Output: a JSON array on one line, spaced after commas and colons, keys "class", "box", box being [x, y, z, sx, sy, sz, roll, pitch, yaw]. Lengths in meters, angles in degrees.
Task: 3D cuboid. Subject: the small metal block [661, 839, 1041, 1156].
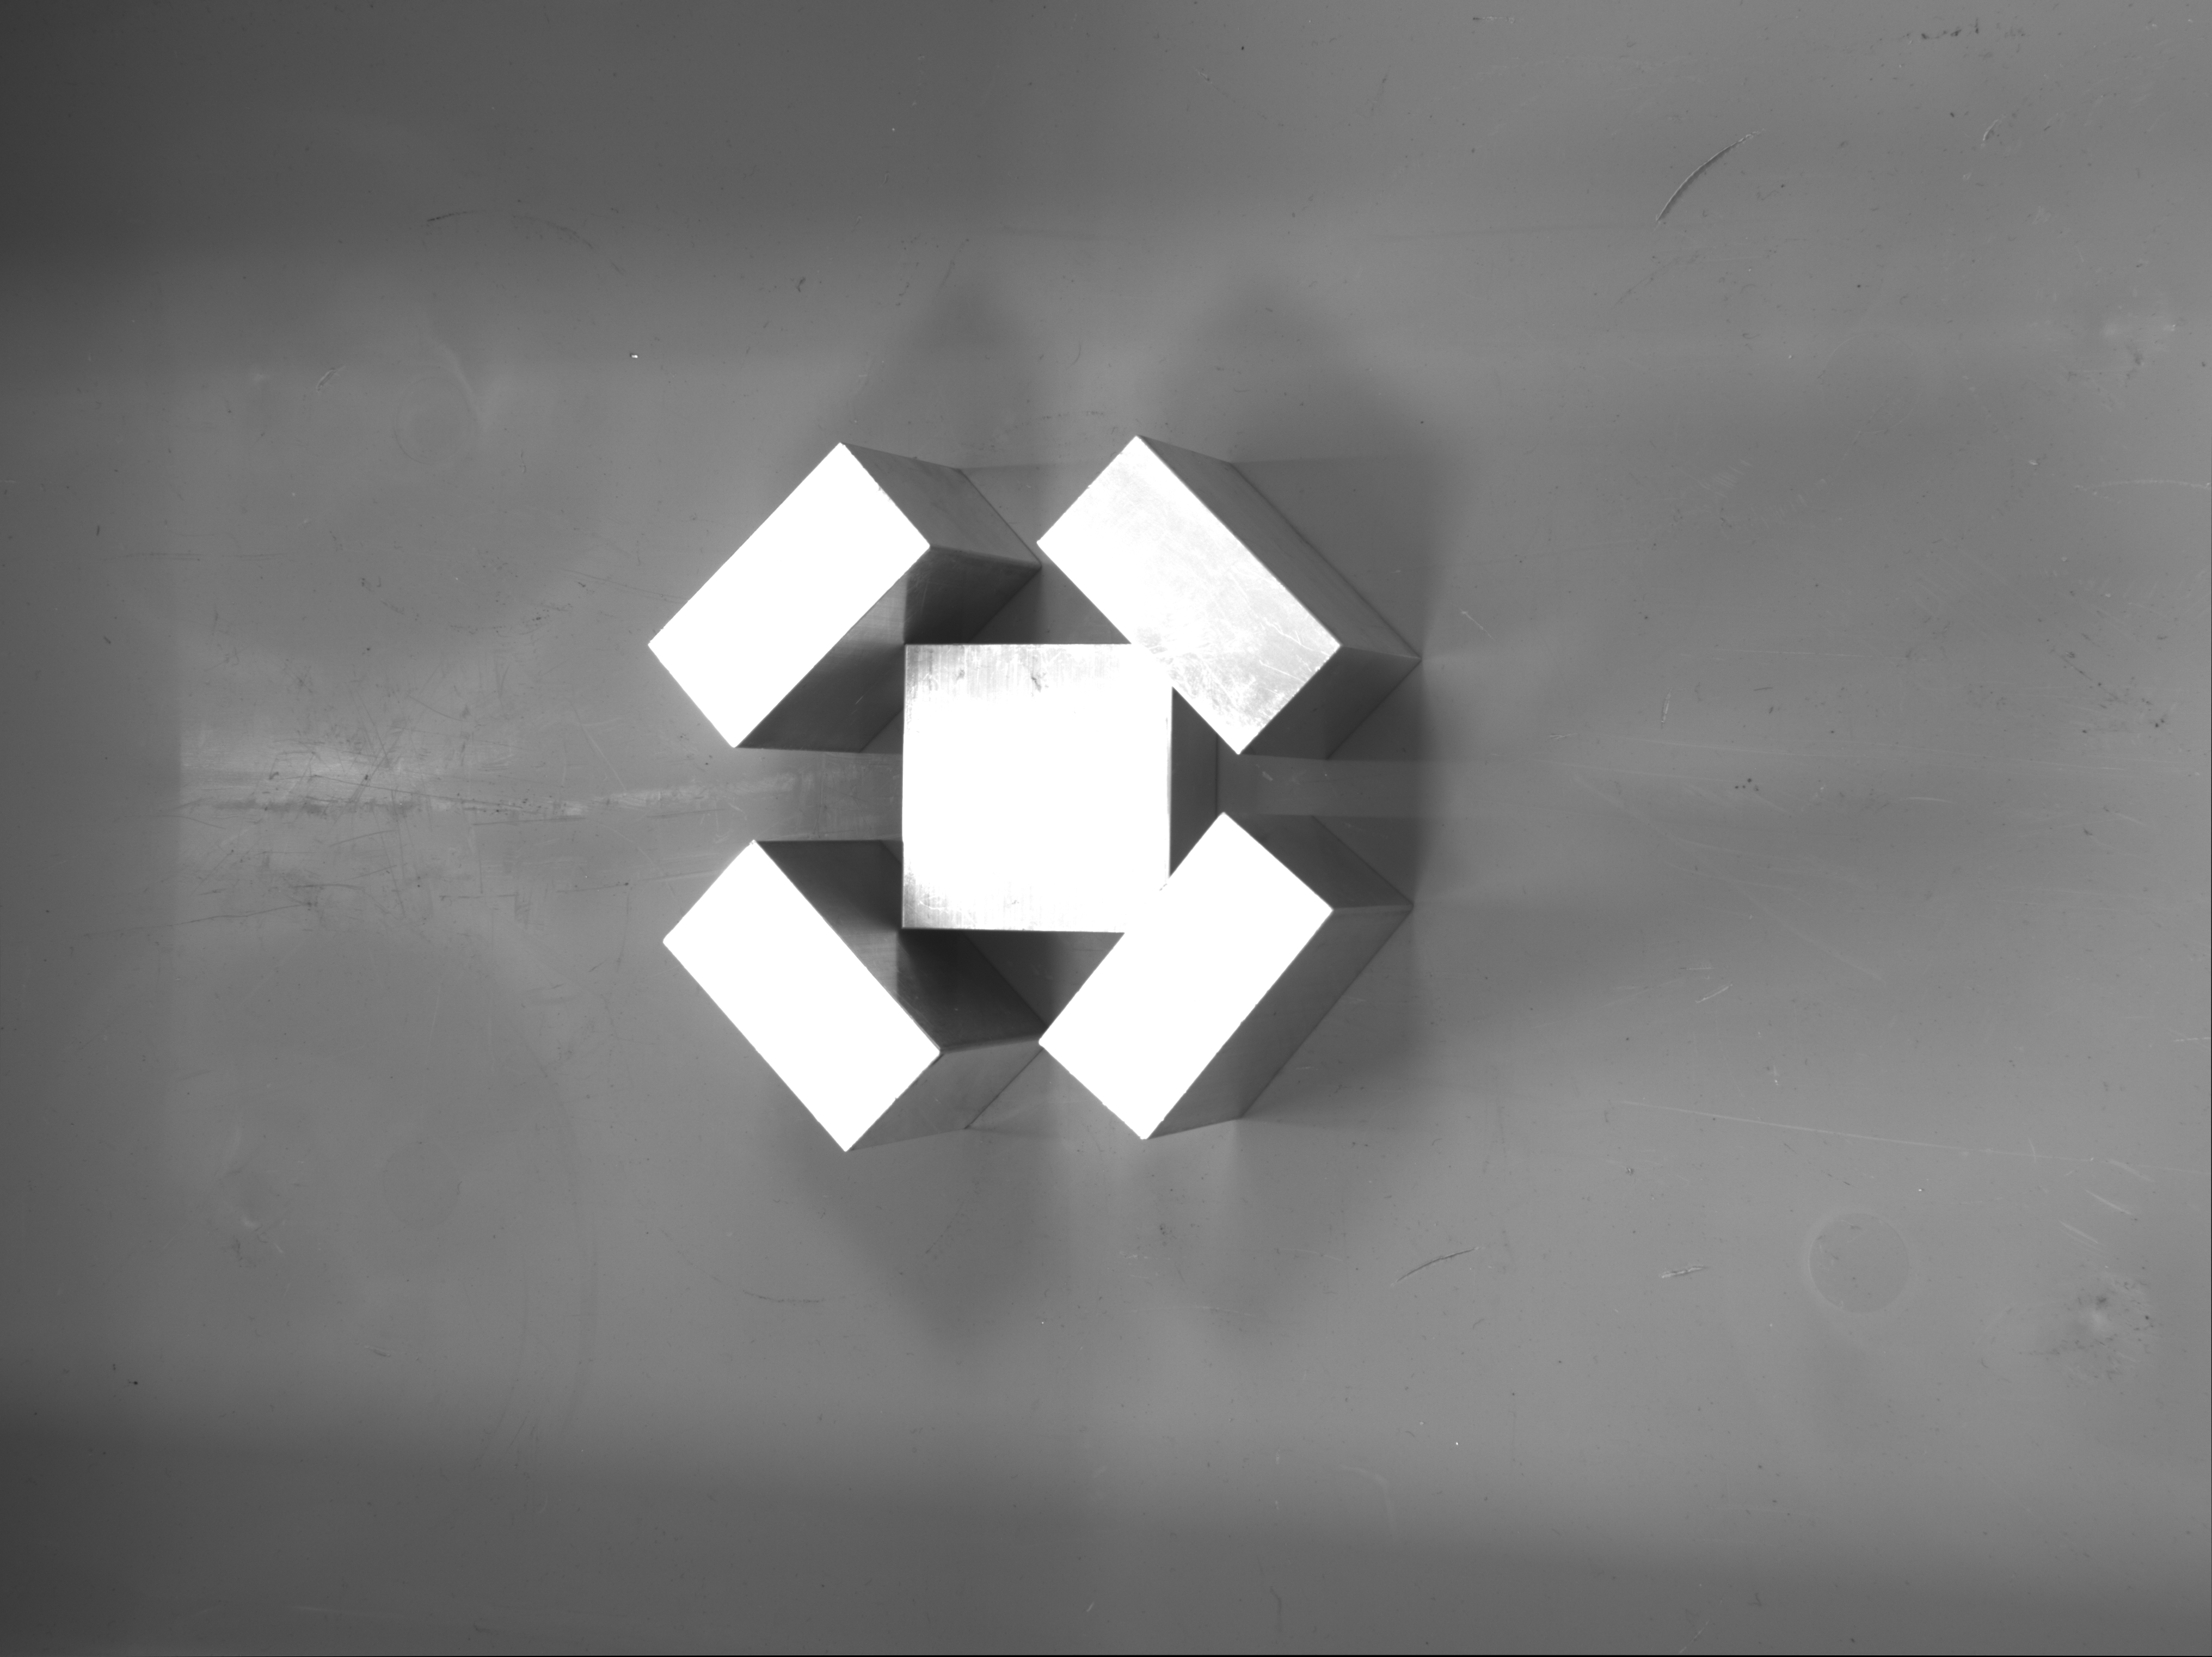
[{"class": "small metal block", "box": [-0.043, 0.029, 0.647, 0.025, 0.050, 0.050, -47, 75, 15]}]

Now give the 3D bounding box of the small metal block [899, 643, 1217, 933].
[{"class": "small metal block", "box": [-0.008, -0.007, 0.647, 0.050, 0.025, 0.050, 1, 90, 20]}]

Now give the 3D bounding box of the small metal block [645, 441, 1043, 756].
[{"class": "small metal block", "box": [-0.045, -0.039, 0.648, 0.050, 0.050, 0.025, -44, 75, 15]}]

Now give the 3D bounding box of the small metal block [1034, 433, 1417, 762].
[{"class": "small metal block", "box": [0.021, -0.038, 0.623, 0.025, 0.050, 0.050, -46, 76, 13]}]

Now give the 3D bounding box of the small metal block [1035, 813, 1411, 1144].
[{"class": "small metal block", "box": [0.021, 0.025, 0.623, 0.025, 0.050, 0.050, 42, 102, 15]}]
